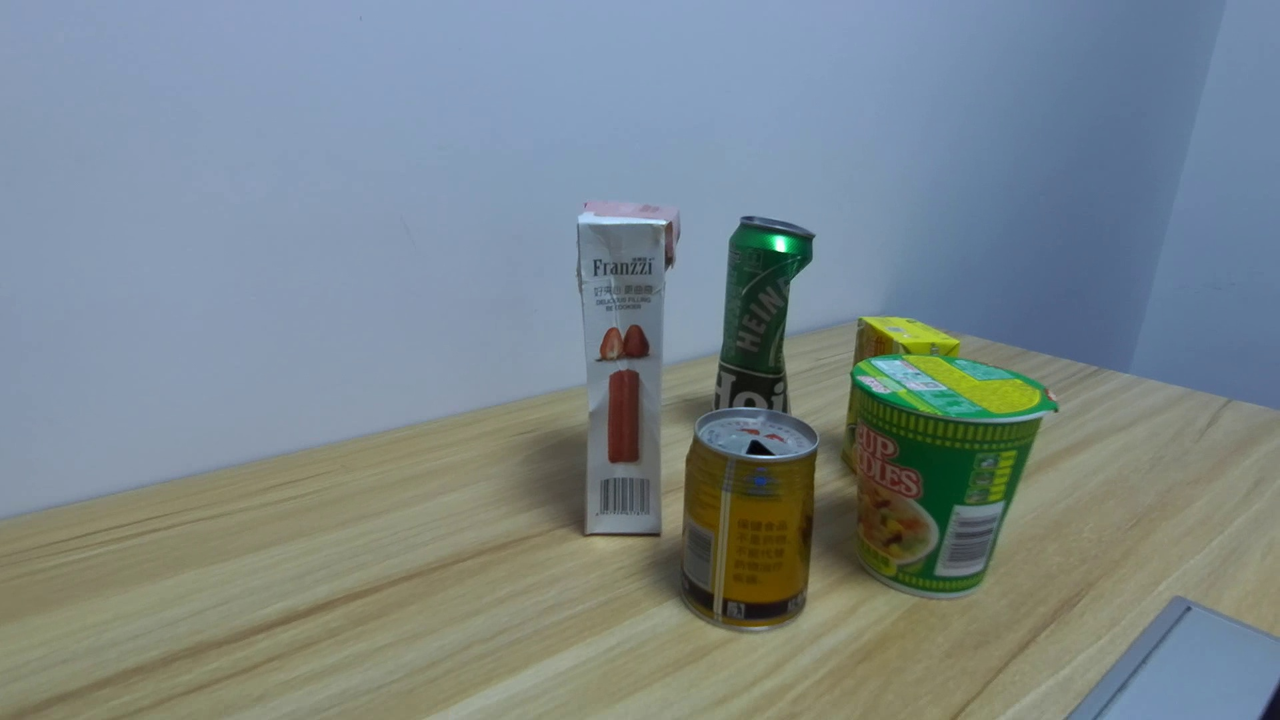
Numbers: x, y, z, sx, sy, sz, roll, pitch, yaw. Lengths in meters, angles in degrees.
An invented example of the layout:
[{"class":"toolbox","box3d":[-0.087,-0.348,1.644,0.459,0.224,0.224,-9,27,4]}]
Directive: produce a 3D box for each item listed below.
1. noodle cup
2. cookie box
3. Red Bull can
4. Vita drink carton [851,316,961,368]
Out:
[{"class":"noodle cup","box3d":[0.157,0.062,0.377,0.097,0.110,0.097,1,18,0]},{"class":"cookie box","box3d":[-0.010,0.003,0.425,0.059,0.186,0.105,3,17,0]},{"class":"Red Bull can","box3d":[0.054,0.077,0.351,0.068,0.093,0.068,1,19,0]},{"class":"Vita drink carton","box3d":[0.174,0.029,0.485,0.043,0.109,0.076,-2,19,-8]}]
